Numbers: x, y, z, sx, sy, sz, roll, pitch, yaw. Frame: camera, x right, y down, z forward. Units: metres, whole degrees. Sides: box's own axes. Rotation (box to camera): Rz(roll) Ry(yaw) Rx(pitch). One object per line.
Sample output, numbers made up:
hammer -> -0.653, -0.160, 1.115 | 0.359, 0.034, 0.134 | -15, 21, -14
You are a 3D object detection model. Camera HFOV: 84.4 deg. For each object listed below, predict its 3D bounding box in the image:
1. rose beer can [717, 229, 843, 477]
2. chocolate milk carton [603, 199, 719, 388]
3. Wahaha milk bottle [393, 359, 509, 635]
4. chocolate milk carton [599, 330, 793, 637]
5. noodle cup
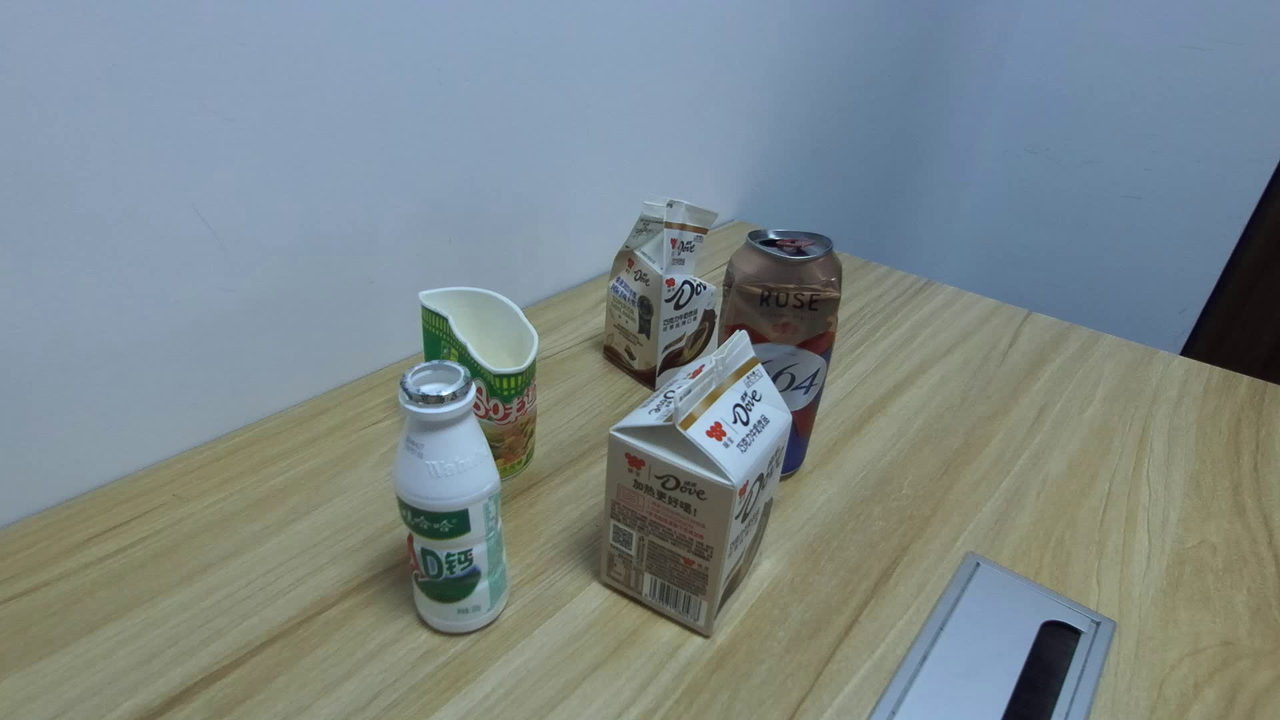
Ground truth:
rose beer can -> 0.090, -0.002, 0.473 | 0.075, 0.167, 0.065 | 9, 29, 16
chocolate milk carton -> 0.022, -0.063, 0.577 | 0.076, 0.155, 0.073 | -22, 41, -35
Wahaha milk bottle -> -0.093, 0.070, 0.355 | 0.056, 0.148, 0.056 | 1, 30, -1
chocolate milk carton -> 0.031, 0.060, 0.379 | 0.074, 0.148, 0.075 | 21, 35, 25
noodle cup -> -0.106, 0.021, 0.472 | 0.070, 0.111, 0.114 | -6, 32, -14
